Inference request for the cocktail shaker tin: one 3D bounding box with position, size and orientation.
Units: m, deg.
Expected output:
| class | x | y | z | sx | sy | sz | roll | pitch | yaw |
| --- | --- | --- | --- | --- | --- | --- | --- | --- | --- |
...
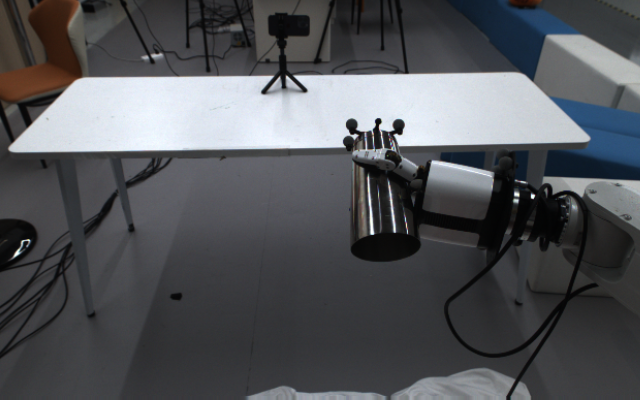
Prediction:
| class | x | y | z | sx | sy | sz | roll | pitch | yaw |
| --- | --- | --- | --- | --- | --- | --- | --- | --- | --- |
| cocktail shaker tin | 0.082 | -0.011 | 0.668 | 0.093 | 0.093 | 0.170 | 0 | 59 | -3 |
